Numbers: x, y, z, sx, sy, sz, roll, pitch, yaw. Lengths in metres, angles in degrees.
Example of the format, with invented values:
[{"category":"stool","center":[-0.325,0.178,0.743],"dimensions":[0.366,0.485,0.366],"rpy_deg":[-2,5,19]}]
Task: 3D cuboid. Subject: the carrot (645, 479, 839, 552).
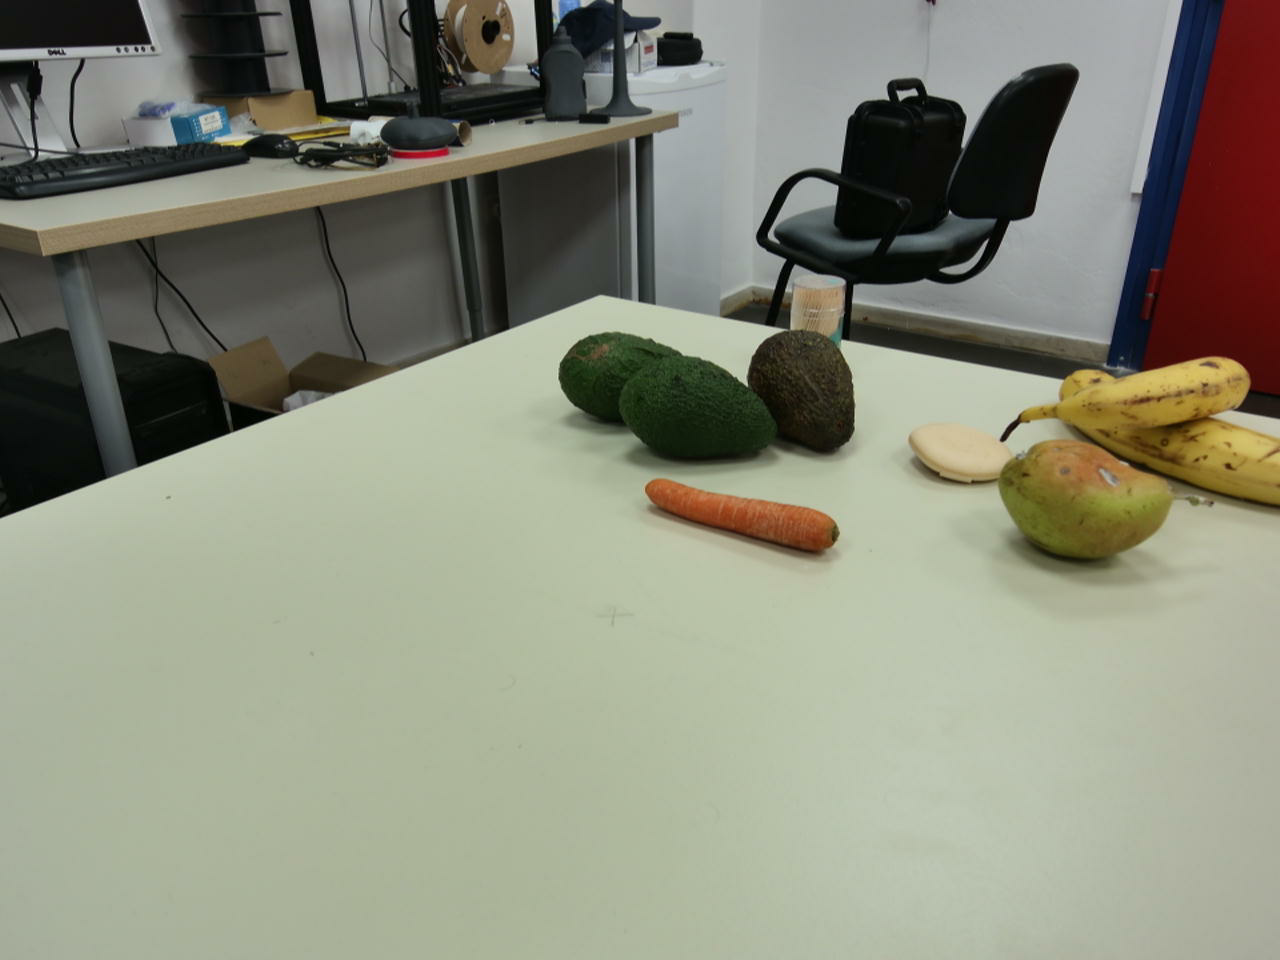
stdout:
[{"category":"carrot","center":[0.055,0.018,0.571],"dimensions":[0.122,0.023,0.024],"rpy_deg":[15,28,30]}]
